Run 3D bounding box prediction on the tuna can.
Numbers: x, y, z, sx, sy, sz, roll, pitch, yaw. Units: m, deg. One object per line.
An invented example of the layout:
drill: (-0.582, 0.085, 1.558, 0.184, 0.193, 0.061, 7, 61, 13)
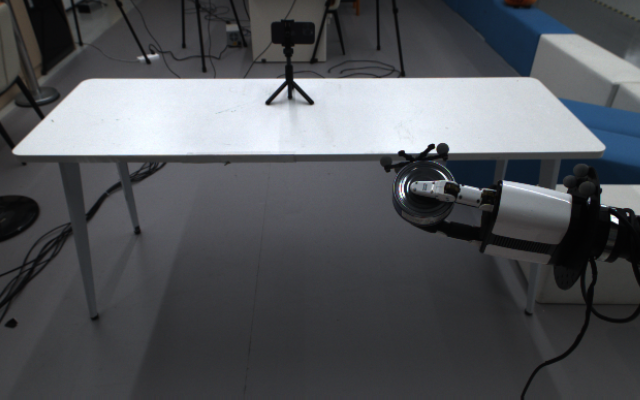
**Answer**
tuna can: (0.143, -0.013, 0.656, 0.085, 0.034, 0.085, -4, 68, 9)
